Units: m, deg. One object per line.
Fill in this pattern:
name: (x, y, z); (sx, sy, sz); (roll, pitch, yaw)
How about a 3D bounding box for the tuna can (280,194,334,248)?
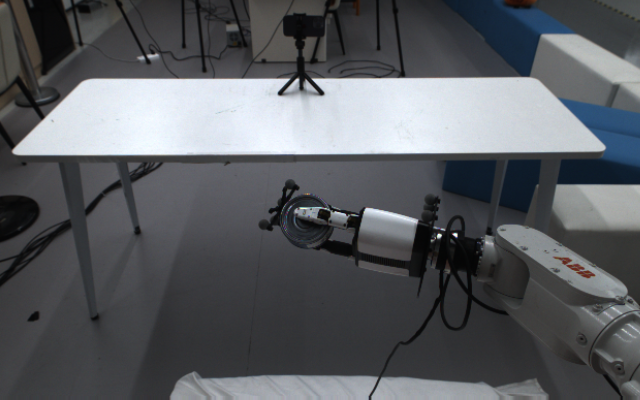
tuna can: (-0.018, 0.037, 0.774); (0.085, 0.034, 0.085); (-2, 72, 6)
